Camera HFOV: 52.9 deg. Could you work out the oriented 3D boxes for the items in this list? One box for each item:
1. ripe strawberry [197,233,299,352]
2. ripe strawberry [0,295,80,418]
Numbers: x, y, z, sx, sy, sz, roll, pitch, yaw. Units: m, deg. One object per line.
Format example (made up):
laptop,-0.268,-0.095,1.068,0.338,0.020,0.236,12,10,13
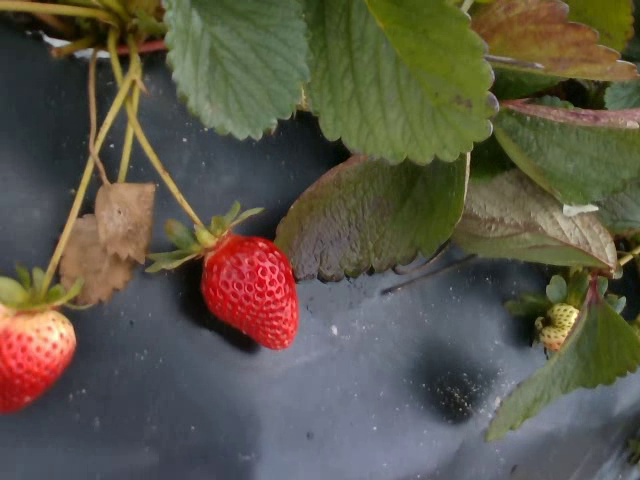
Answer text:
ripe strawberry,-0.024,0.020,0.234,0.044,0.059,0.042,-25,18,5
ripe strawberry,-0.093,0.038,0.197,0.036,0.041,0.027,13,8,-22
